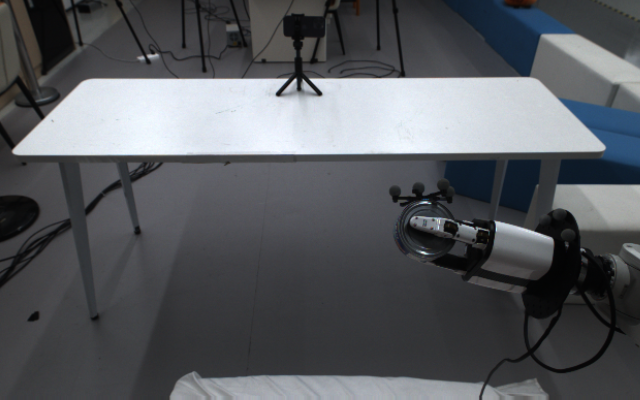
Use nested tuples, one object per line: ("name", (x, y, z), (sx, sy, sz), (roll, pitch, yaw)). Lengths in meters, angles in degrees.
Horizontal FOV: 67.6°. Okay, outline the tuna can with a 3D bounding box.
("tuna can", (0.151, 0.042, 0.688), (0.085, 0.034, 0.085), (1, 70, -3))
